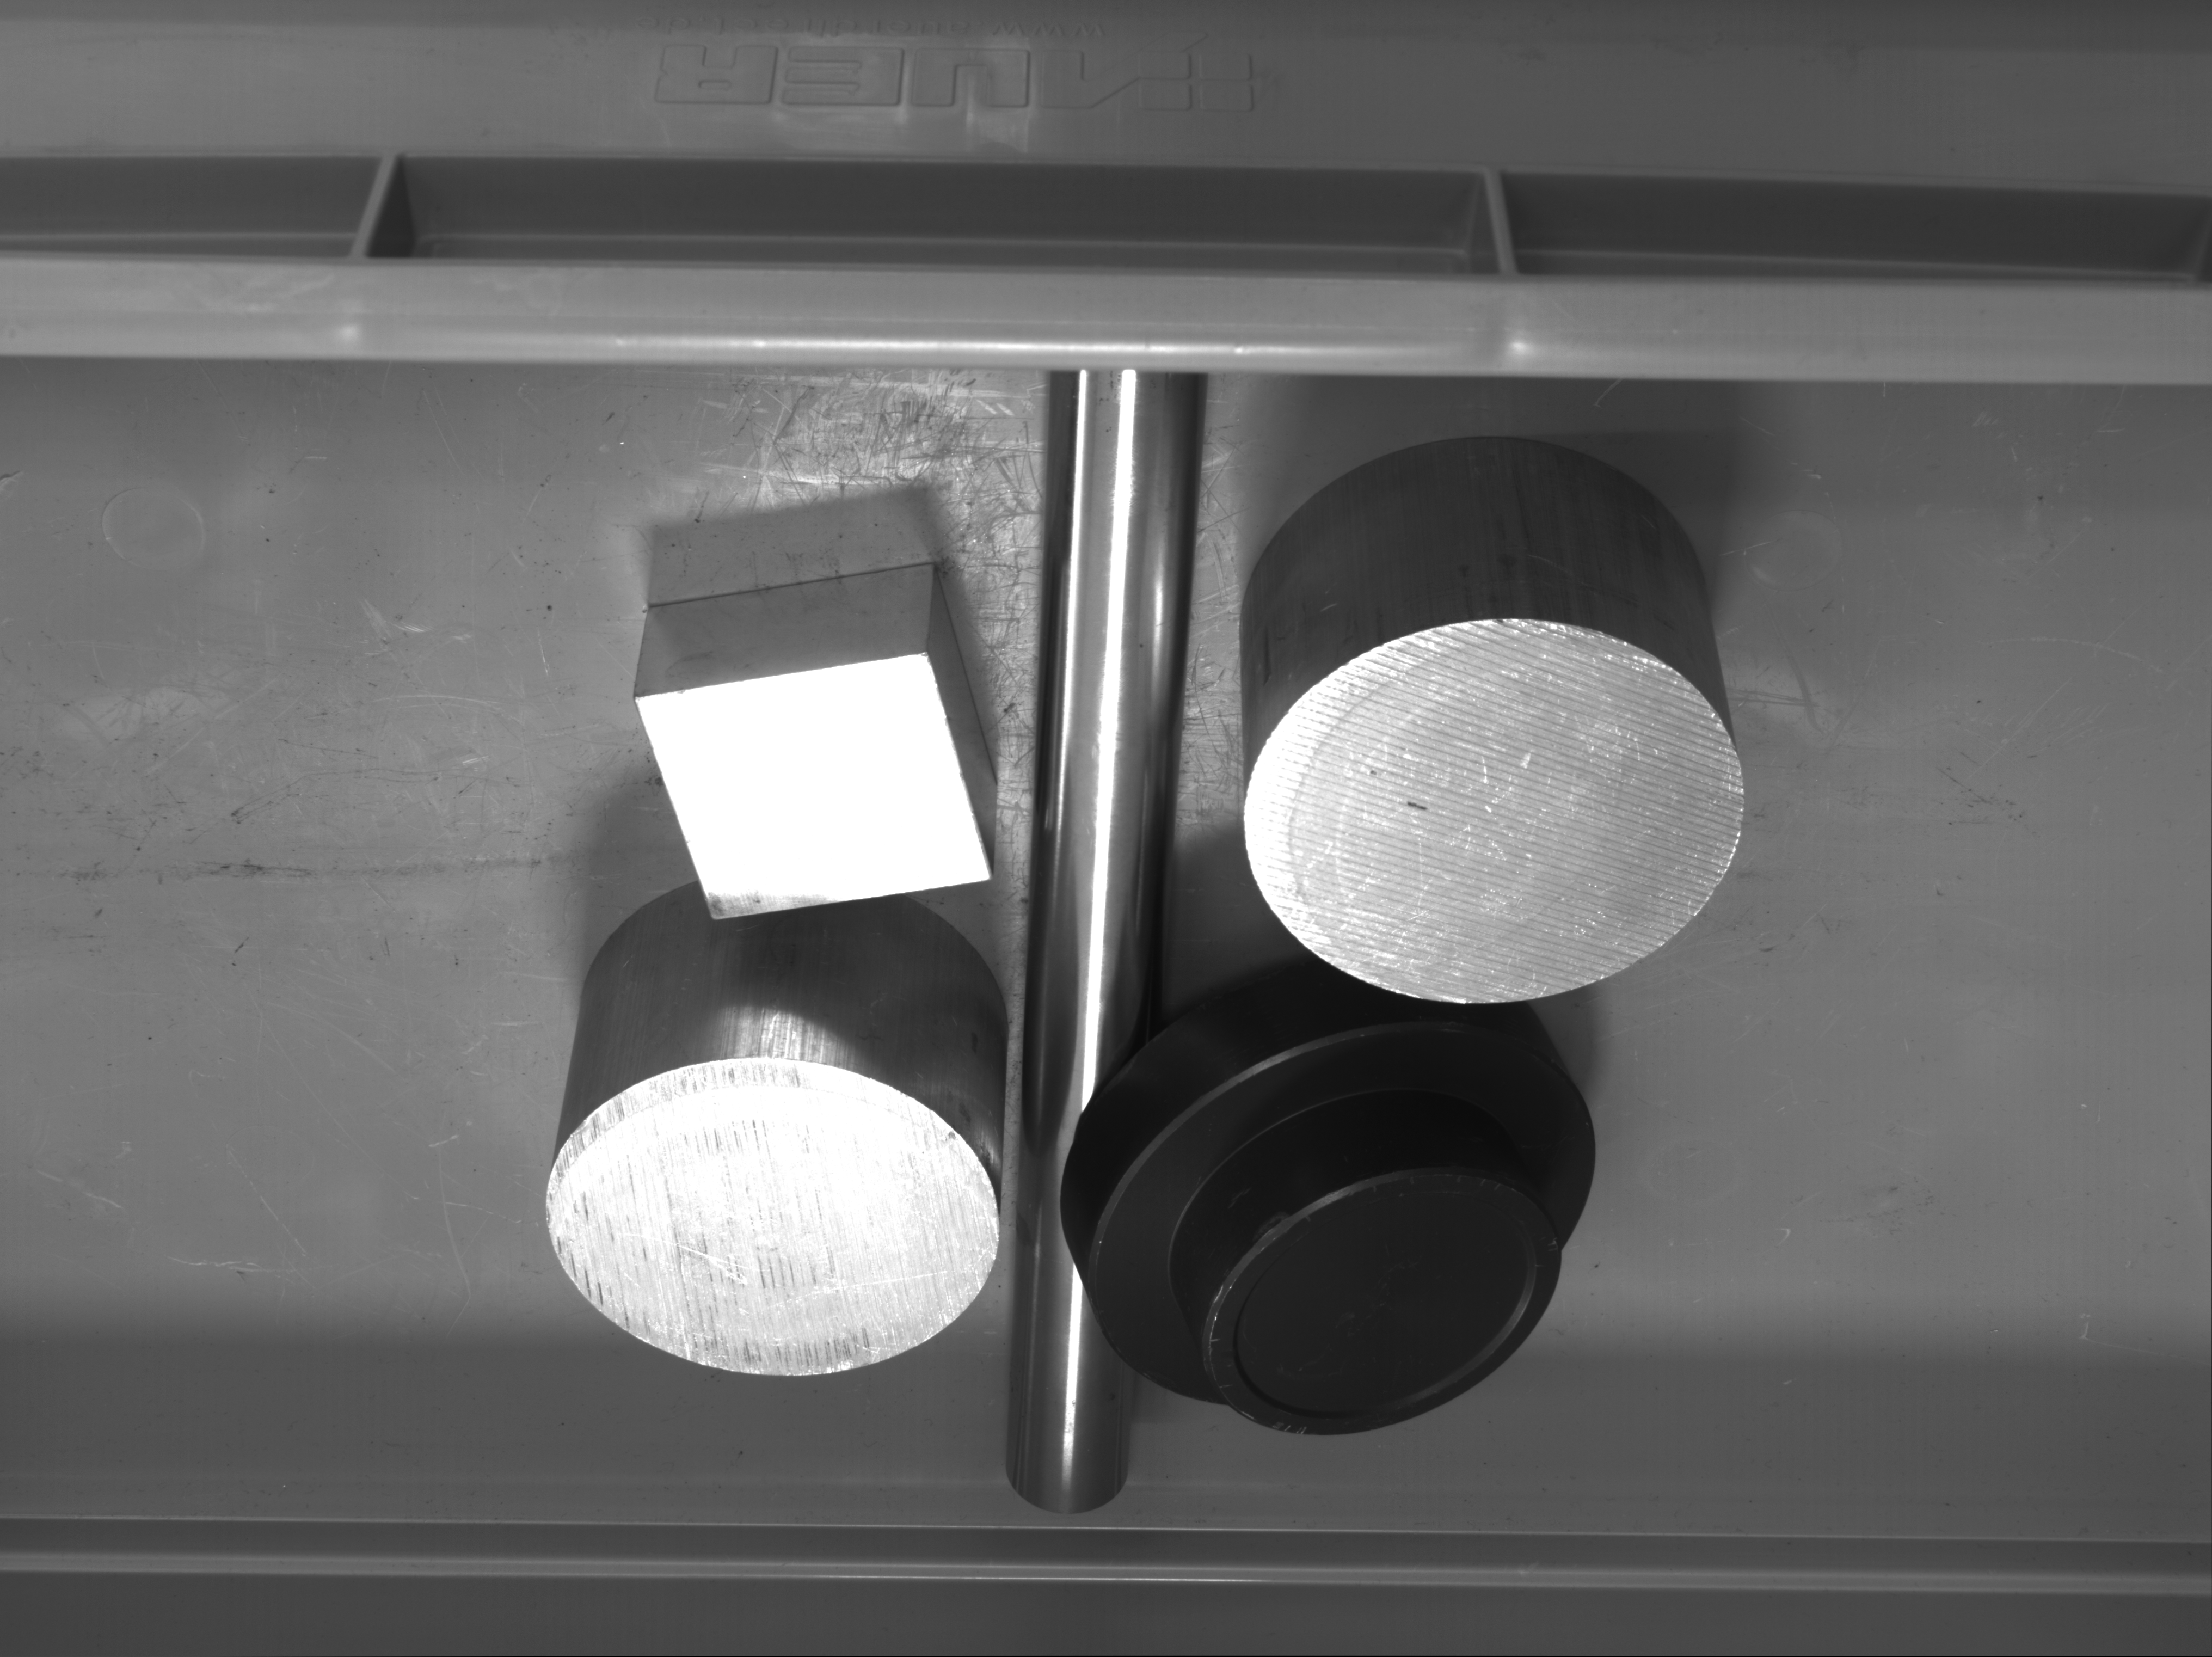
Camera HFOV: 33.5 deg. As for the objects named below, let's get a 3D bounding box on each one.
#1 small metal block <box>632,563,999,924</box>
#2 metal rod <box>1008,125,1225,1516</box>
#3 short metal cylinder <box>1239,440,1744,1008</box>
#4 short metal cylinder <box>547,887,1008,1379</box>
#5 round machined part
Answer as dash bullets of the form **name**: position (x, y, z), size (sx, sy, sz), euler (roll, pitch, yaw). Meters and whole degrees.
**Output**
- **small metal block**: position (-0.048, -0.014, 0.626), size (0.050, 0.025, 0.050), euler (-9, 129, 7)
- **metal rod**: position (-0.001, 0.015, 0.650), size (0.025, 0.025, 0.300), euler (2, 130, -2)
- **short metal cylinder**: position (0.062, -0.017, 0.607), size (0.080, 0.050, 0.080), euler (0, 130, 0)
- **short metal cylinder**: position (-0.058, 0.054, 0.666), size (0.080, 0.050, 0.080), euler (0, 130, 0)
- **round machined part**: position (0.044, 0.073, 0.672), size (0.098, 0.042, 0.098), euler (-10, 130, -12)
